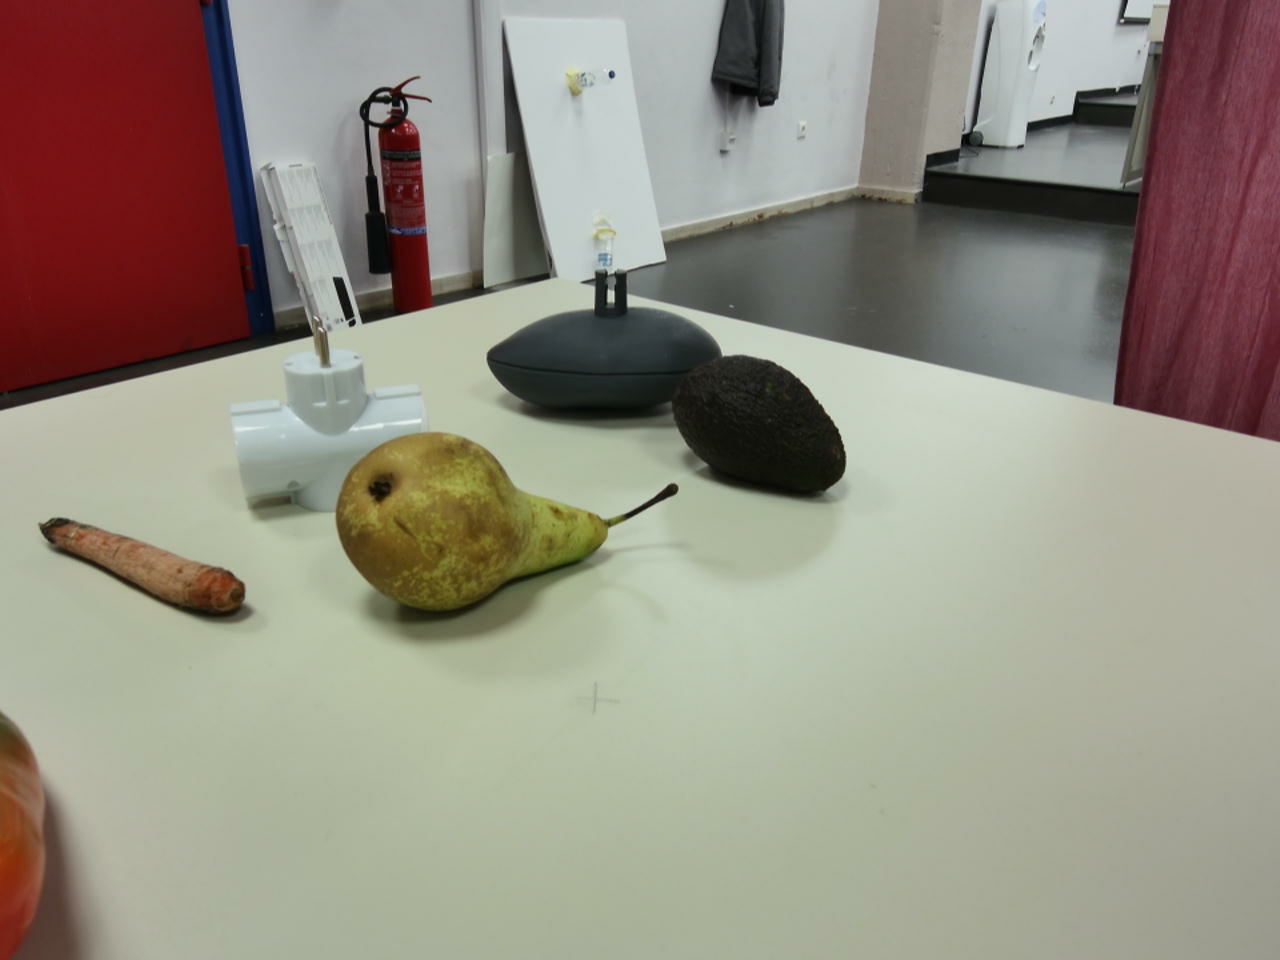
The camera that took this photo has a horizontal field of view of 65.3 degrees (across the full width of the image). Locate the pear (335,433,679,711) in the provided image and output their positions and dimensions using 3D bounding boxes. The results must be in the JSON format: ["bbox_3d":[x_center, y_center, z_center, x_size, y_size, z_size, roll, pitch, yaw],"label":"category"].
[{"bbox_3d":[-0.058,0.007,0.426,0.144,0.075,0.072,-21,30,-40],"label":"pear"}]
